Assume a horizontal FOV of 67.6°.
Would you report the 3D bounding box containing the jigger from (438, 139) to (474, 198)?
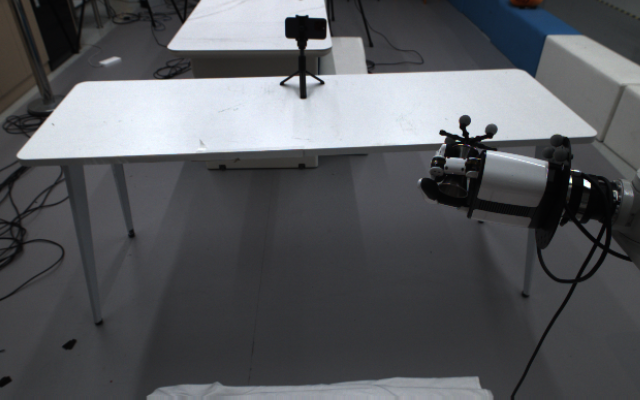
[{"bbox_3d":[0.204,-0.047,0.709,0.043,0.043,0.071,16,70,19],"label":"jigger"}]
